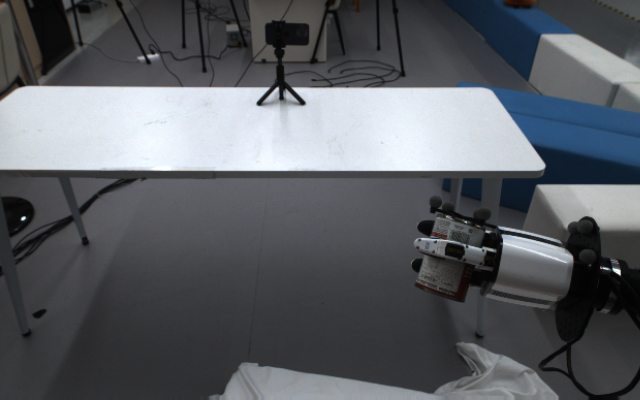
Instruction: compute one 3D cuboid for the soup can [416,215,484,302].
[{"bbox_3d":[0.175,0.076,0.644,0.067,0.101,0.067,17,-1,0],"label":"soup can"}]
